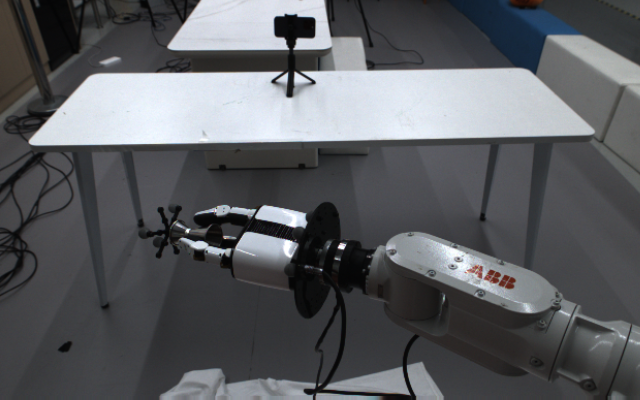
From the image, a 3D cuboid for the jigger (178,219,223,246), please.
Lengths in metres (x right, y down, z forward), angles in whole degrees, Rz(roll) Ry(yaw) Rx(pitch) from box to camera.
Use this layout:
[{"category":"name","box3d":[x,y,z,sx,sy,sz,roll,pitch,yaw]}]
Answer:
[{"category":"jigger","box3d":[-0.179,0.047,0.729,0.071,0.043,0.043,5,33,23]}]
